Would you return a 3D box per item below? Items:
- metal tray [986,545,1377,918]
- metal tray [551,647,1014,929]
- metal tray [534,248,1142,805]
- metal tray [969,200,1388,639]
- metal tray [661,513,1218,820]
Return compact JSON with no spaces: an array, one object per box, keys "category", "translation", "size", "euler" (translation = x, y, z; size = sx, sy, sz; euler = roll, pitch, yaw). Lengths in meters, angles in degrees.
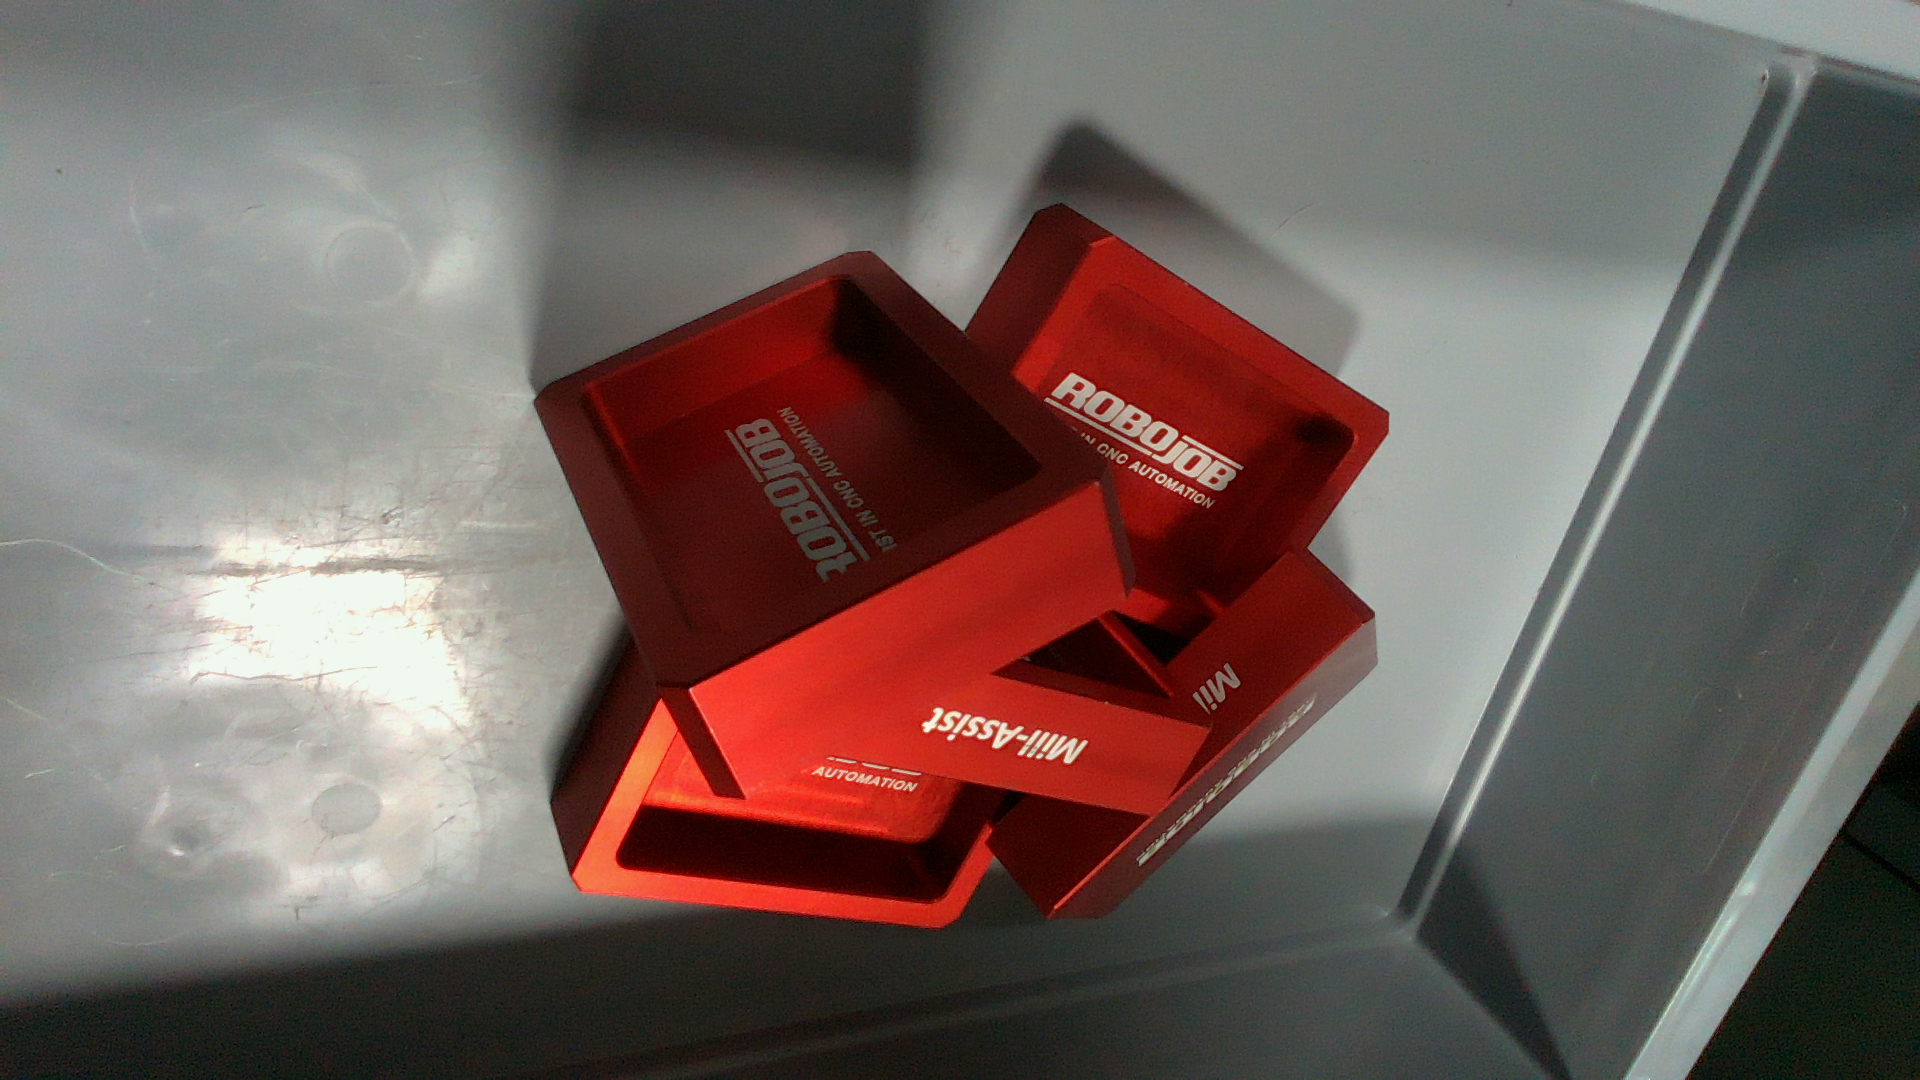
[{"category":"metal tray","translation":[0.075,0.066,0.440],"size":[0.130,0.030,0.090],"euler":[-43,158,2]},{"category":"metal tray","translation":[-0.039,0.064,0.401],"size":[0.130,0.030,0.090],"euler":[17,109,-35]},{"category":"metal tray","translation":[-0.032,-0.013,0.293],"size":[0.090,0.130,0.030],"euler":[-26,128,-11]},{"category":"metal tray","translation":[0.054,-0.027,0.397],"size":[0.130,0.030,0.090],"euler":[23,106,-36]},{"category":"metal tray","translation":[-0.007,0.026,0.356],"size":[0.130,0.090,0.030],"euler":[17,110,-35]}]
